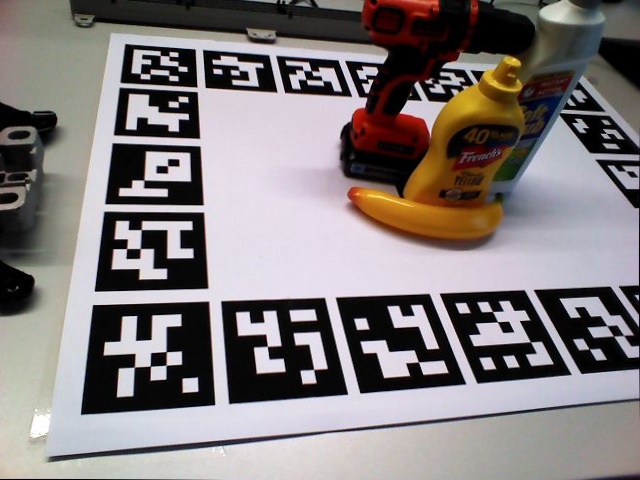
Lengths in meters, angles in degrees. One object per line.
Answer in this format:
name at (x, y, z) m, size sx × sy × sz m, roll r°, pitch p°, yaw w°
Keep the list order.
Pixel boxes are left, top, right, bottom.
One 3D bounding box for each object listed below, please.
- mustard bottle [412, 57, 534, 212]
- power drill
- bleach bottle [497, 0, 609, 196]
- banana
mustard bottle at (0.174, -0.106, 0.553) m, size 0.096 × 0.192 × 0.058 m, roll 1°, pitch 50°, yaw -14°
power drill at (0.128, -0.174, 0.572) m, size 0.185 × 0.188 × 0.057 m, roll 10°, pitch 47°, yaw -7°
bleach bottle at (0.238, -0.166, 0.587) m, size 0.102 × 0.252 × 0.067 m, roll 2°, pitch 44°, yaw -12°
banana at (0.143, -0.029, 0.594) m, size 0.197 × 0.039 × 0.074 m, roll 3°, pitch 51°, yaw -8°
